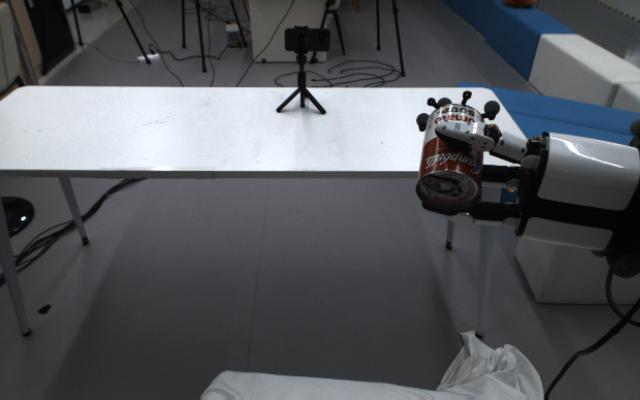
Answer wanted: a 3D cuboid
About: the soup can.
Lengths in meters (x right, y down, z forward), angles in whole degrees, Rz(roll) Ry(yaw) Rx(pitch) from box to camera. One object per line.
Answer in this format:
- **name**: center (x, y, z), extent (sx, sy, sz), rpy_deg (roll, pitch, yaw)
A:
- **soup can**: center (0.148, -0.050, 0.538), extent (0.067, 0.067, 0.101), rpy_deg (9, 56, 10)
